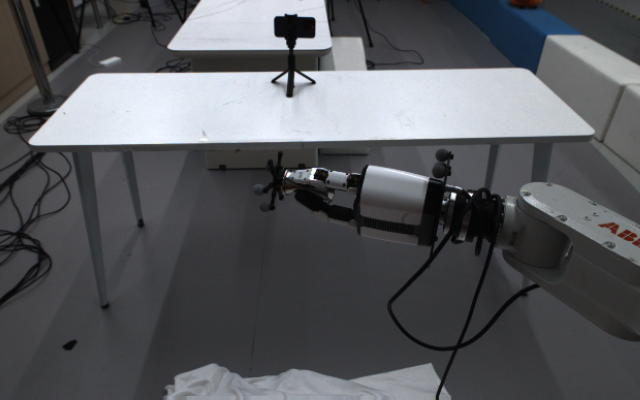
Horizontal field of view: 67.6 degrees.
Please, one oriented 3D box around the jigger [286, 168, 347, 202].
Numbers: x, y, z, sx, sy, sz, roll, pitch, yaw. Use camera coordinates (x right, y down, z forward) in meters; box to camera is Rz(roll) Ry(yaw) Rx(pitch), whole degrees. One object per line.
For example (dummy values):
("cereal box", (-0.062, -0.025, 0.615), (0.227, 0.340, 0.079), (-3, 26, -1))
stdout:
("jigger", (-0.009, -0.026, 0.693), (0.071, 0.043, 0.043), (8, 35, 15))
